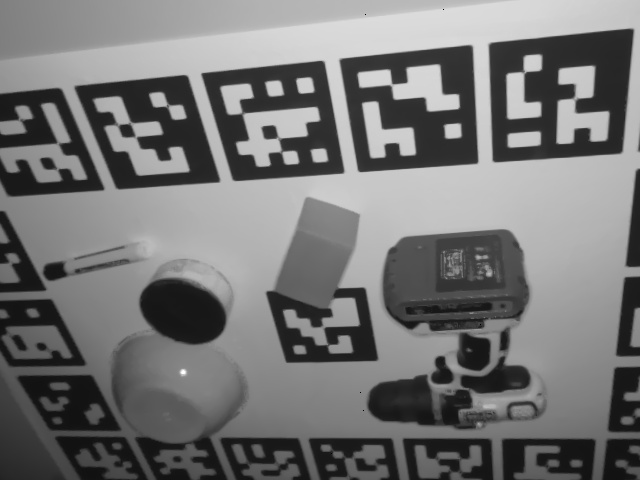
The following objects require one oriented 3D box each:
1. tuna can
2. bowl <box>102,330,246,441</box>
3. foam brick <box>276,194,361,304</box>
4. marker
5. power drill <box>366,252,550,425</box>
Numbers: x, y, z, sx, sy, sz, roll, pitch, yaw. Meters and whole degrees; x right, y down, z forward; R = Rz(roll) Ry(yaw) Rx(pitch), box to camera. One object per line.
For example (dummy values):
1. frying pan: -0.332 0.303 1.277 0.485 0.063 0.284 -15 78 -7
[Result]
1. tuna can: -0.135 0.062 0.682 0.085 0.034 0.085 5 124 8
2. bowl: -0.166 0.171 0.759 0.161 0.056 0.160 2 130 3
3. foam brick: -0.002 0.008 0.623 0.051 0.053 0.077 19 123 -2
4. marker: -0.225 0.018 0.675 0.120 0.020 0.019 -10 120 16
5. power drill: 0.126 0.100 0.659 0.183 0.058 0.186 -1 126 14
